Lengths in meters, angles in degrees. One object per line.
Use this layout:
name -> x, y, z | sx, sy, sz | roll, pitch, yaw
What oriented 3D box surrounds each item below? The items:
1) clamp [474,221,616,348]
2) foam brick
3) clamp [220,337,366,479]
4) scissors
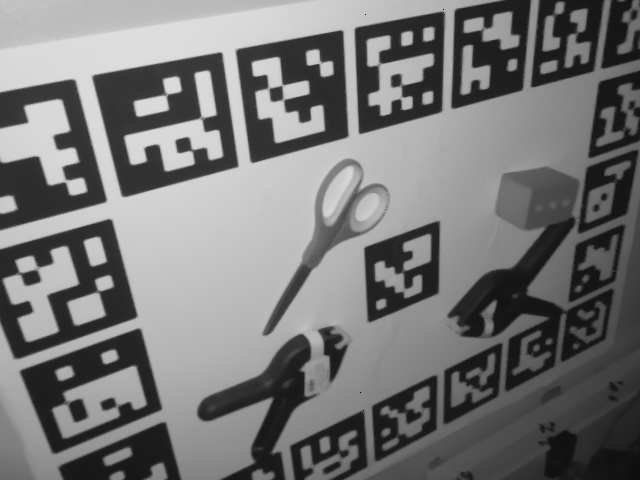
clamp -> 0.283, 0.079, 0.865 | 0.205, 0.036, 0.164 | -22, 124, -19
foam brick -> 0.285, -0.043, 0.804 | 0.079, 0.051, 0.052 | -14, 117, -29
clamp -> -0.011, 0.169, 0.743 | 0.166, 0.036, 0.122 | -43, 119, -7
scissors -> 0.027, 0.022, 0.701 | 0.088, 0.016, 0.202 | 25, 100, -28
